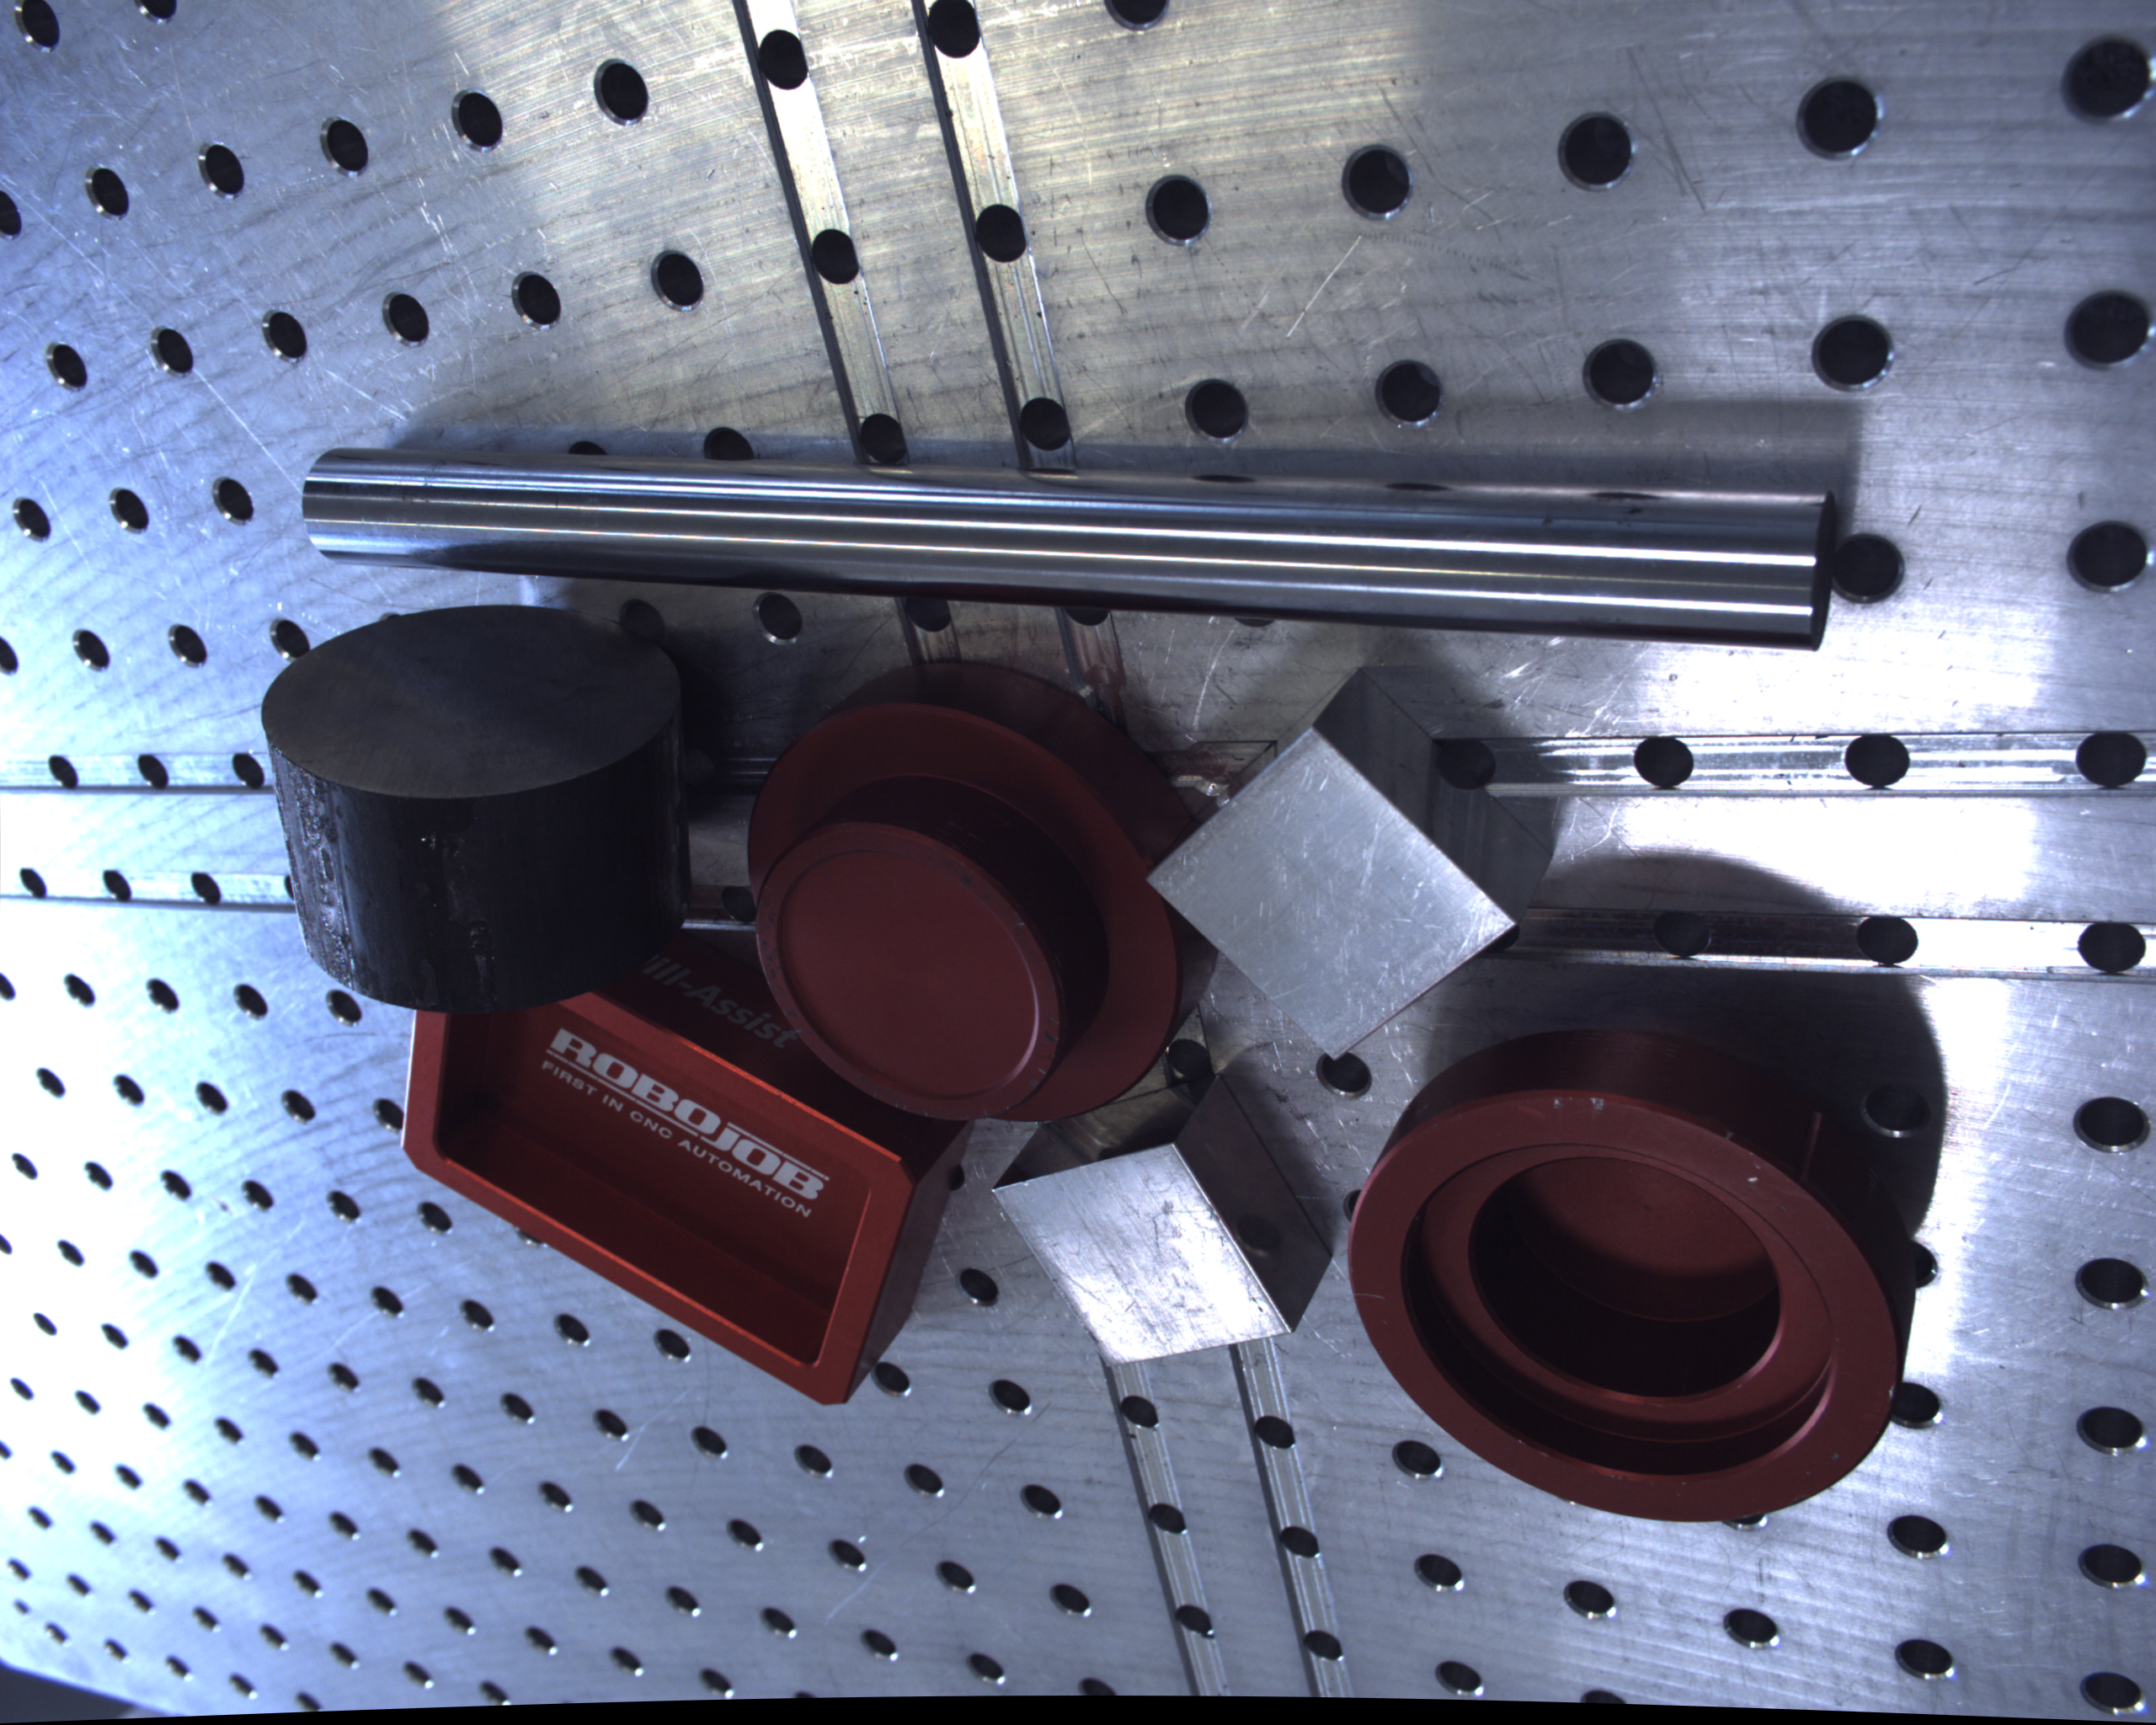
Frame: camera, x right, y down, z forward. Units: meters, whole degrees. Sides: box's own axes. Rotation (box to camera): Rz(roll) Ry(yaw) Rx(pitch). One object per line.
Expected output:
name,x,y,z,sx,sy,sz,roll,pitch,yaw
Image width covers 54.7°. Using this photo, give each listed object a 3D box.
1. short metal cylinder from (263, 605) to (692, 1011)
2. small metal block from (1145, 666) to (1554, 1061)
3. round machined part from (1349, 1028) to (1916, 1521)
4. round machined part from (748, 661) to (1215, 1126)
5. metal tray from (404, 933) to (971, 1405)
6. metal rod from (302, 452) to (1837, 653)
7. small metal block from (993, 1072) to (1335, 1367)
short metal cylinder,-0.122,-0.013,0.432,0.080,0.080,0.050,16,125,19
small metal block,0.050,0.001,0.386,0.050,0.025,0.050,44,129,-2
round machined part,0.104,0.072,0.390,0.098,0.042,0.097,13,124,21
round machined part,-0.025,0.012,0.420,0.098,0.042,0.097,12,121,22
metal tray,-0.096,0.063,0.497,0.130,0.030,0.089,27,128,11
metal rod,-0.021,-0.060,0.384,0.301,0.025,0.025,6,121,24
small metal block,0.019,0.078,0.450,0.050,0.025,0.050,-21,108,36
